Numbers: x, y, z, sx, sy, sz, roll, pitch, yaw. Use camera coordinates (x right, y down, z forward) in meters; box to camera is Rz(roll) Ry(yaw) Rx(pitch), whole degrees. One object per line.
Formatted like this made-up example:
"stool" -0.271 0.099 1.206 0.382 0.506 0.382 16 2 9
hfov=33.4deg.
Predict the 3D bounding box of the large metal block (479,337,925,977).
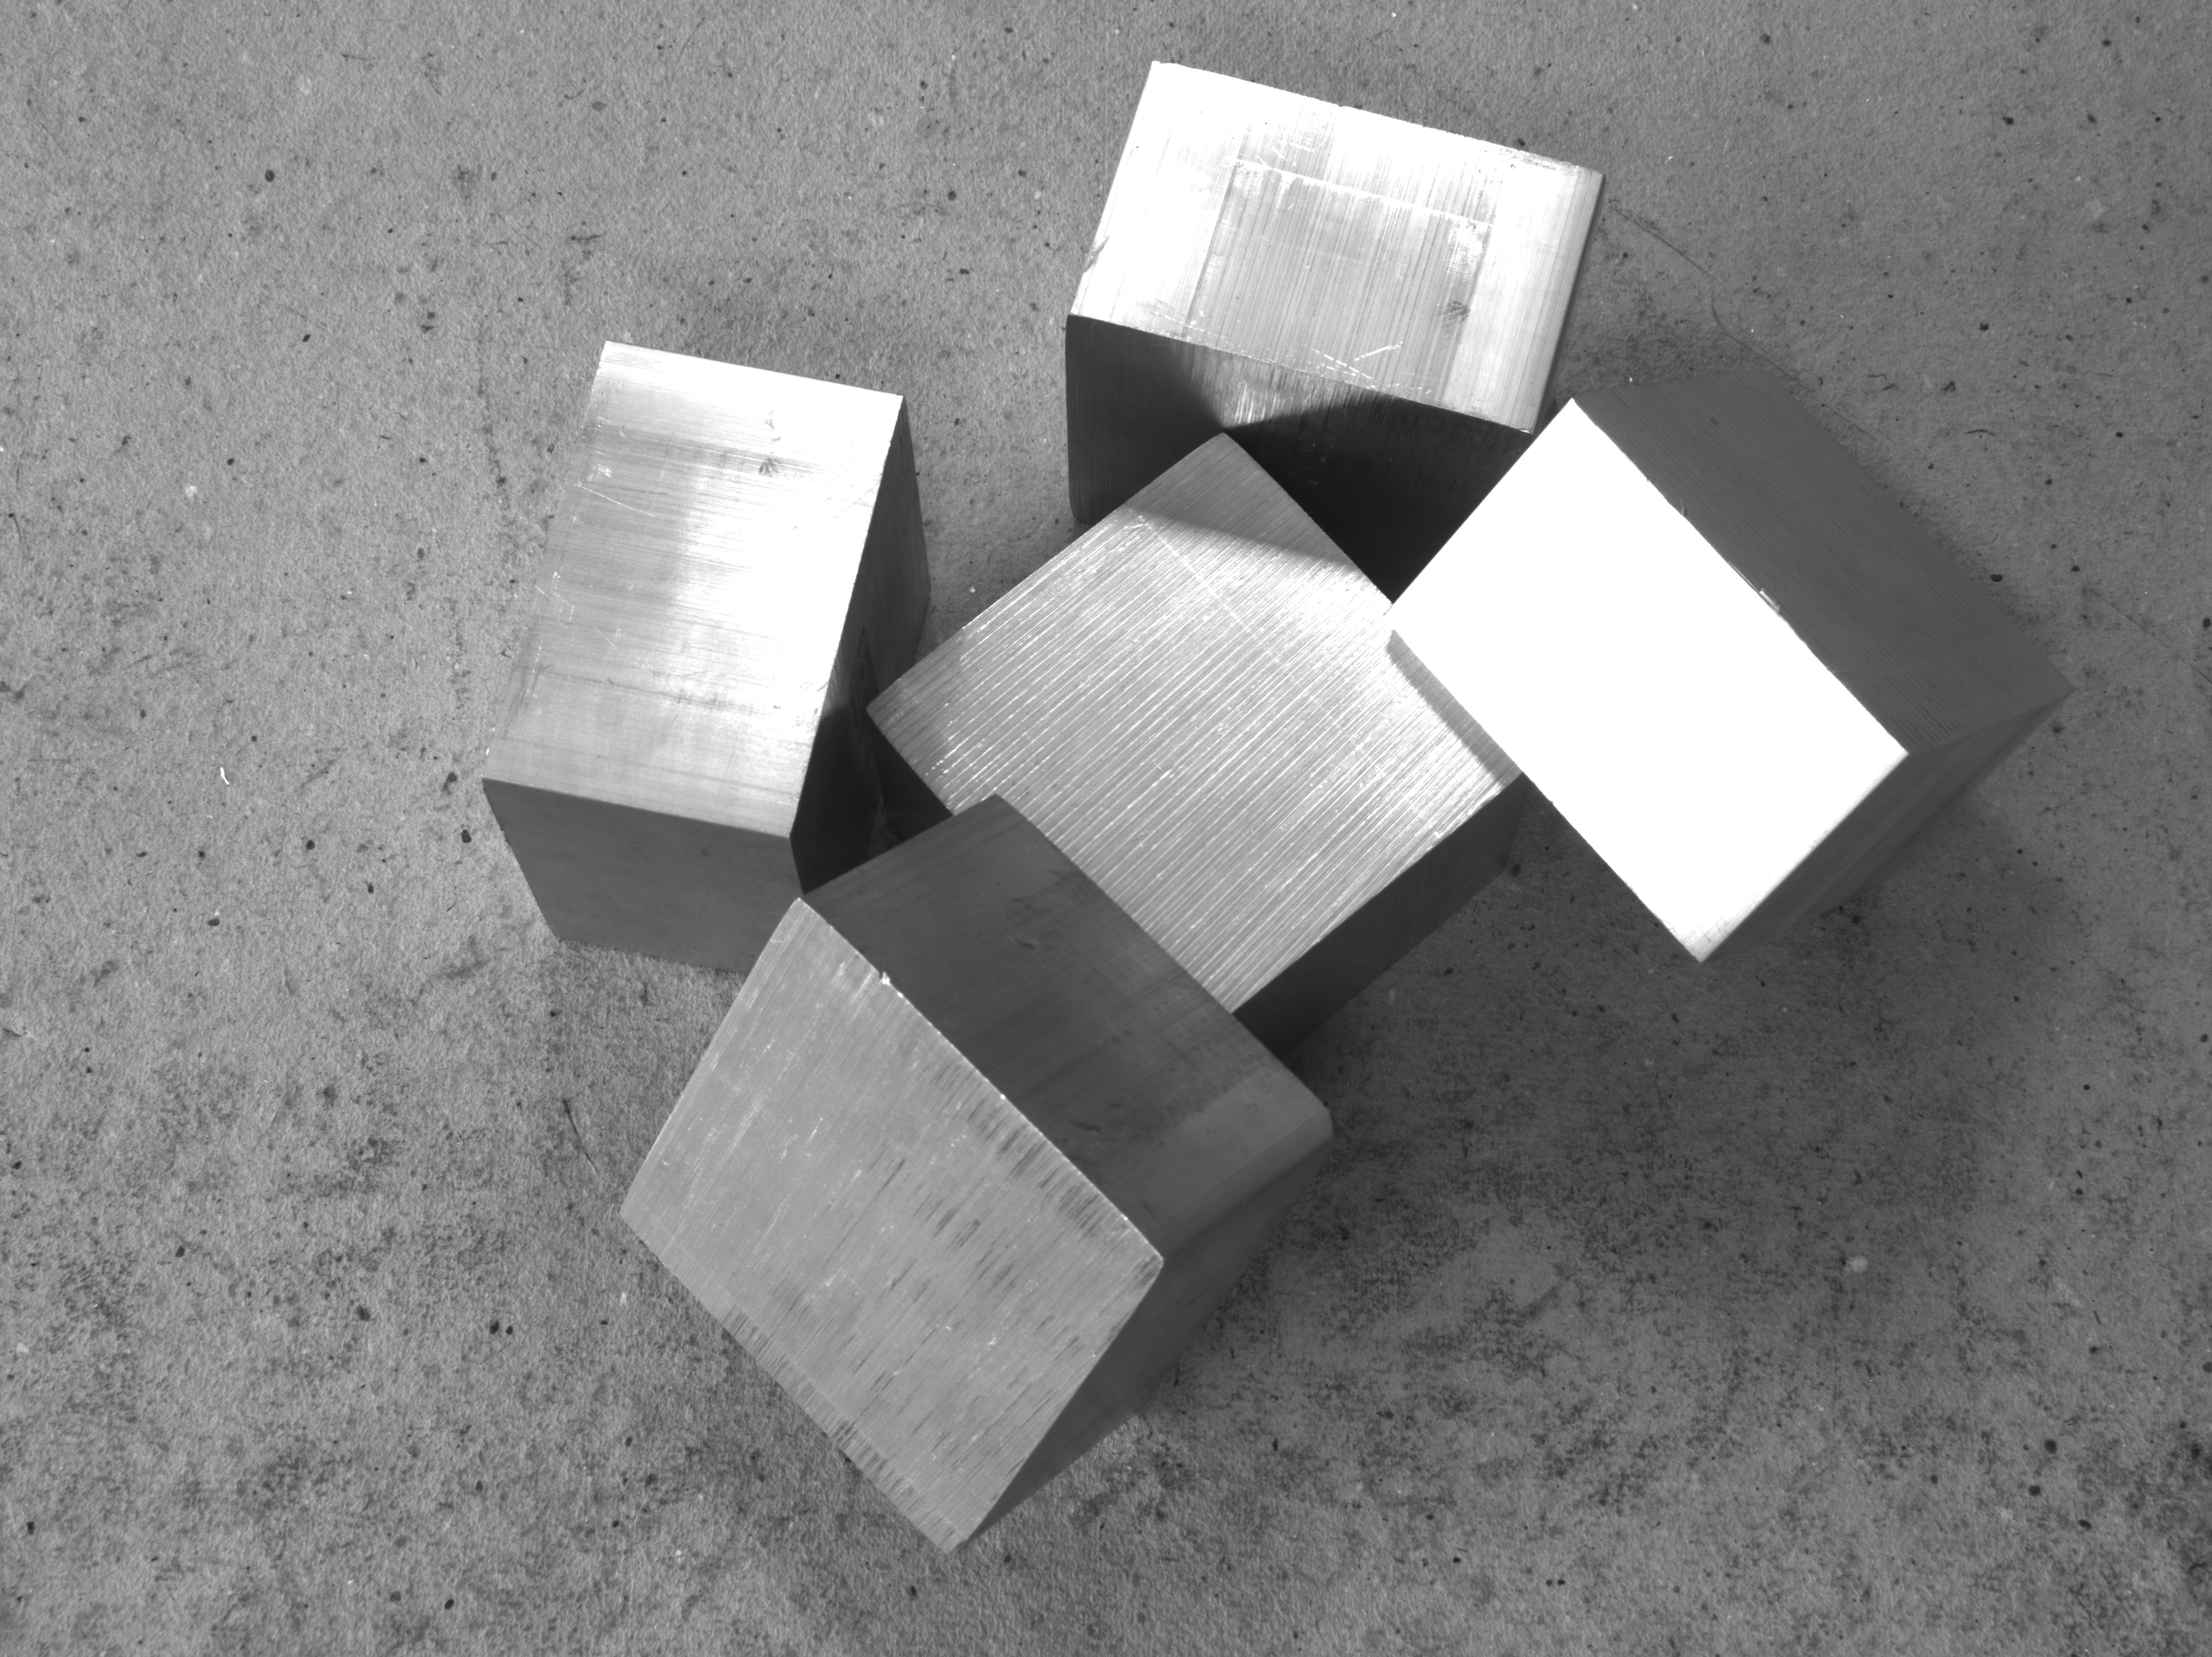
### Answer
"large metal block" -0.065 -0.025 0.627 0.050 0.080 0.080 11 71 4

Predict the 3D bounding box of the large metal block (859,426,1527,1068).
"large metal block" 0.015 -0.007 0.633 0.080 0.050 0.080 -39 75 -13

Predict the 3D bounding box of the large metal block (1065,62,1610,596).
"large metal block" 0.039 -0.083 0.647 0.080 0.080 0.050 15 70 6

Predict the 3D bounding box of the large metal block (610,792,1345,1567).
"large metal block" -0.022 0.056 0.589 0.080 0.080 0.050 44 39 14

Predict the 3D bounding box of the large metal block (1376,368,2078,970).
"large metal block" 0.106 -0.030 0.621 0.080 0.080 0.050 49 121 16
